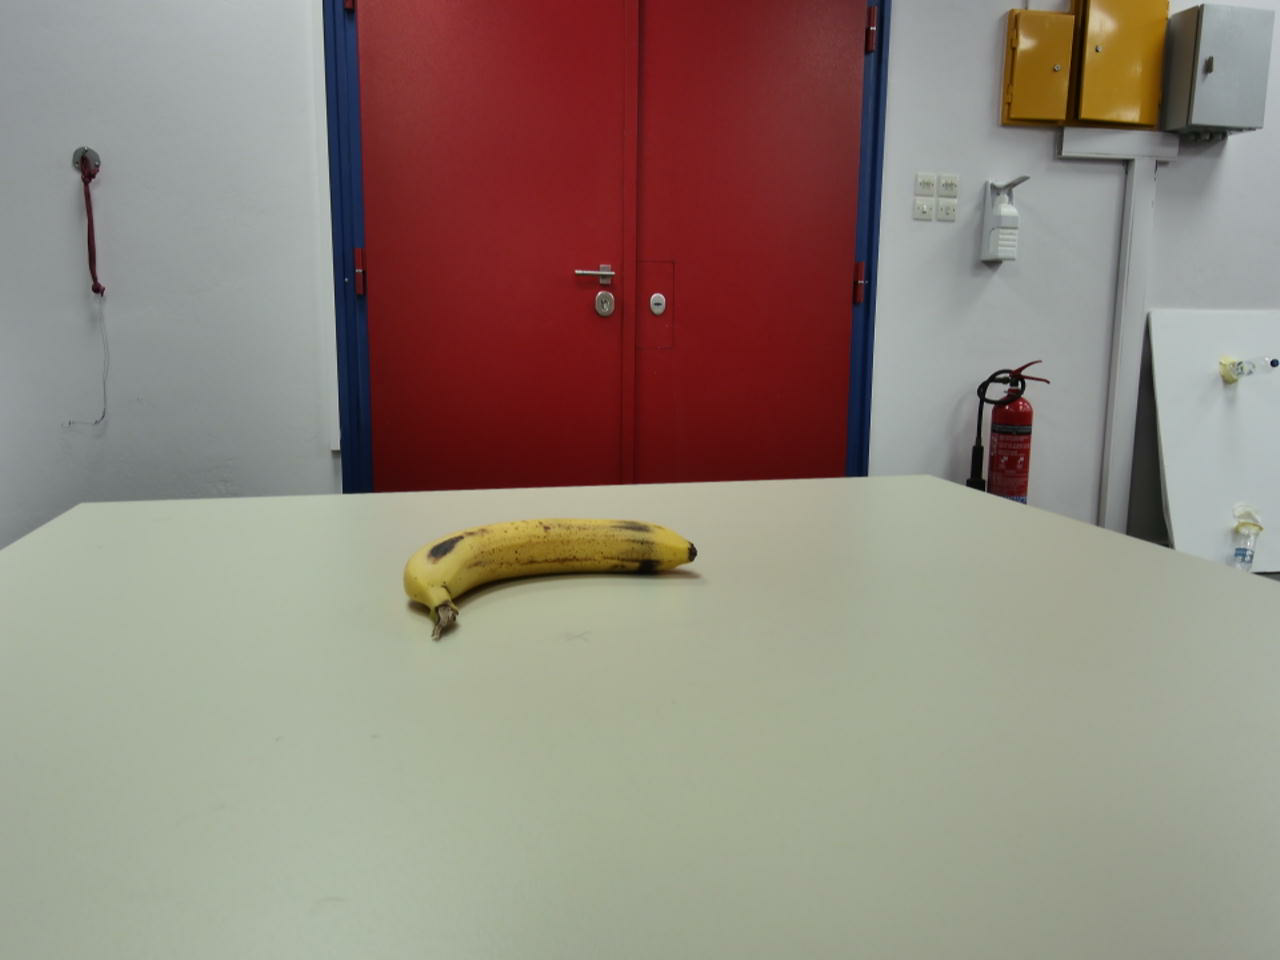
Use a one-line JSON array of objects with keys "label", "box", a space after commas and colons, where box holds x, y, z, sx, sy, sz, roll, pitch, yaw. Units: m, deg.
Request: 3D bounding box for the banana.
[{"label": "banana", "box": [-0.061, 0.048, 0.603, 0.186, 0.038, 0.097, -6, 10, -40]}]
